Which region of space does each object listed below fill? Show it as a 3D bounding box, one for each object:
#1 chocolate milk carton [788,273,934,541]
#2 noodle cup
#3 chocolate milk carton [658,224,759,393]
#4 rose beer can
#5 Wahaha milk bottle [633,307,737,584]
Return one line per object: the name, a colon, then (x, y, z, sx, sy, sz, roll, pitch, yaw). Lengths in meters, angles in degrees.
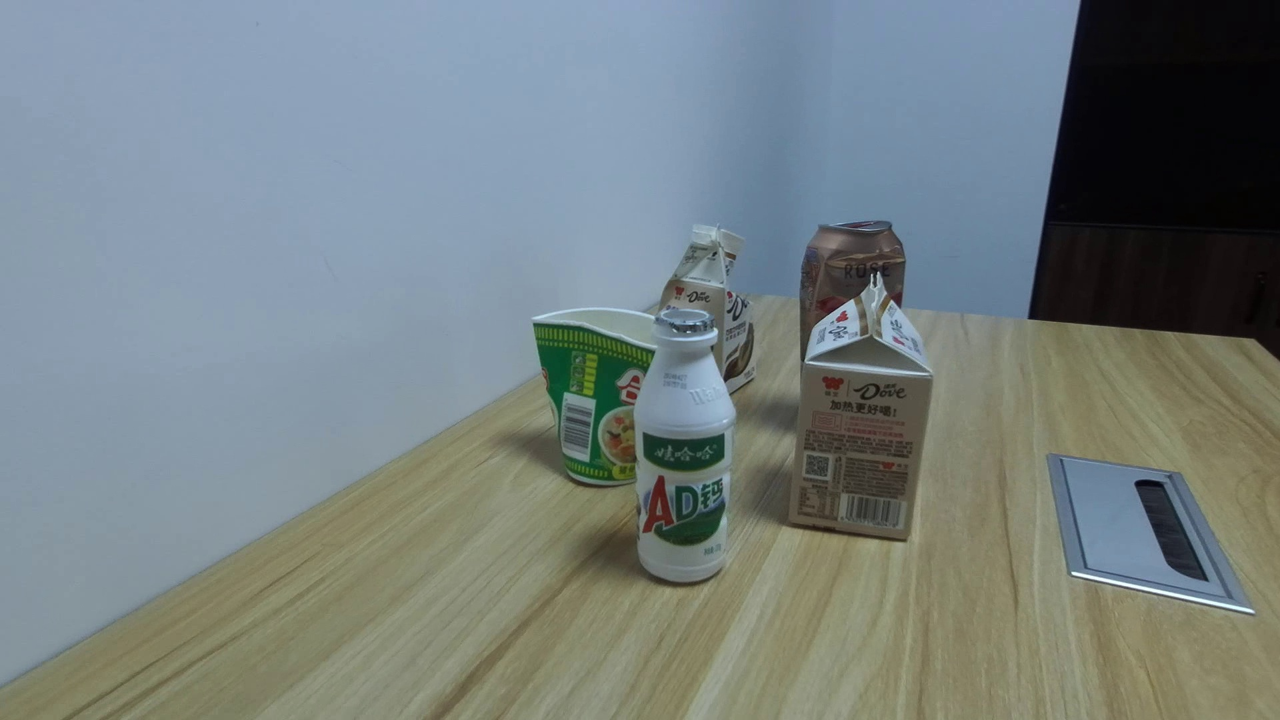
chocolate milk carton: (0.137, 0.024, 0.434, 0.074, 0.148, 0.075, 7, 21, 14)
noodle cup: (-0.021, 0.025, 0.495, 0.070, 0.111, 0.114, -14, 23, -27)
chocolate milk carton: (0.063, -0.049, 0.644, 0.073, 0.155, 0.076, 14, 23, 31)
rose beer can: (0.163, -0.023, 0.551, 0.076, 0.167, 0.065, 0, 14, 9)
Wahaha milk bottle: (0.024, 0.046, 0.380, 0.056, 0.148, 0.056, -2, 20, 1)
